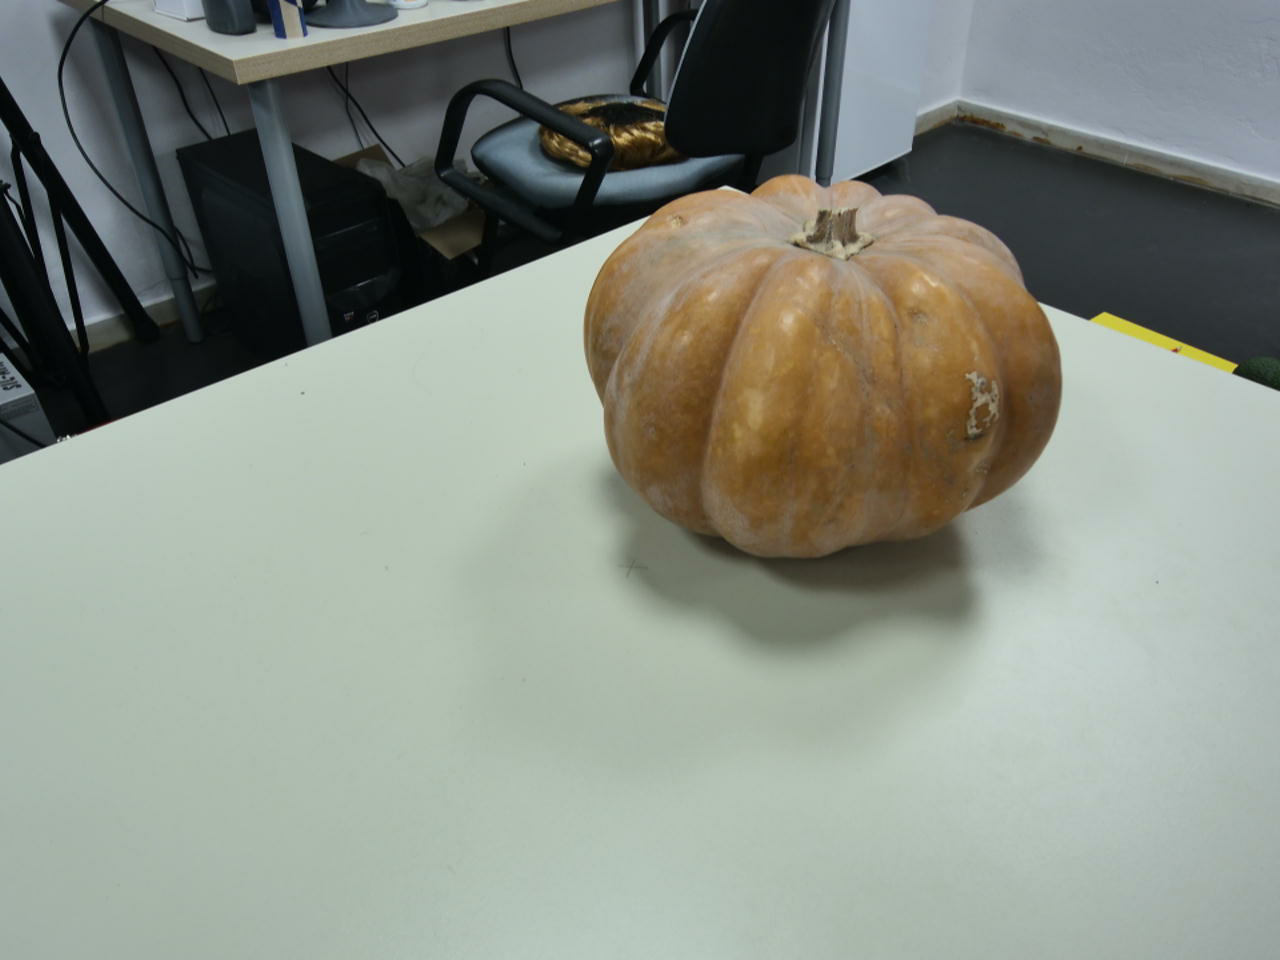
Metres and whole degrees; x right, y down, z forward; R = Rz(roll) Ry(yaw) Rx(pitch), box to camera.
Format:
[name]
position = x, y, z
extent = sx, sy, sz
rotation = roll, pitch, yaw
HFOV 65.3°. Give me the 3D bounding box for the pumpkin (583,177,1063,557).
[pumpkin]
position = 0.098, -0.071, 0.580
extent = 0.277, 0.181, 0.277
rotation = 0, 37, 0
